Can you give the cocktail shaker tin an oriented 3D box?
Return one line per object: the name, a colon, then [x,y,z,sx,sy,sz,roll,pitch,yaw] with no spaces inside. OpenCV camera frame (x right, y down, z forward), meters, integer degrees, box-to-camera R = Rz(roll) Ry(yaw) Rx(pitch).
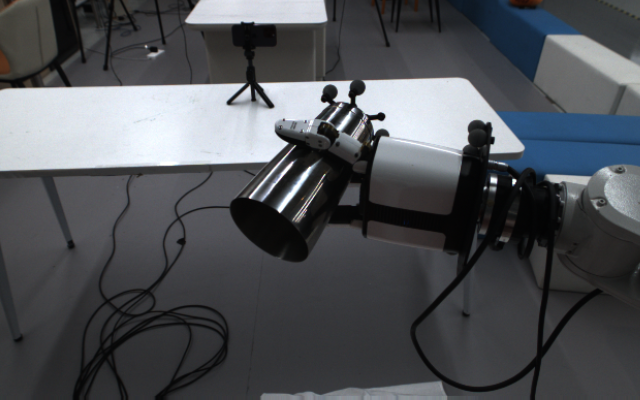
cocktail shaker tin: [-0.006,-0.032,0.513,0.093,0.093,0.170,19,55,22]
